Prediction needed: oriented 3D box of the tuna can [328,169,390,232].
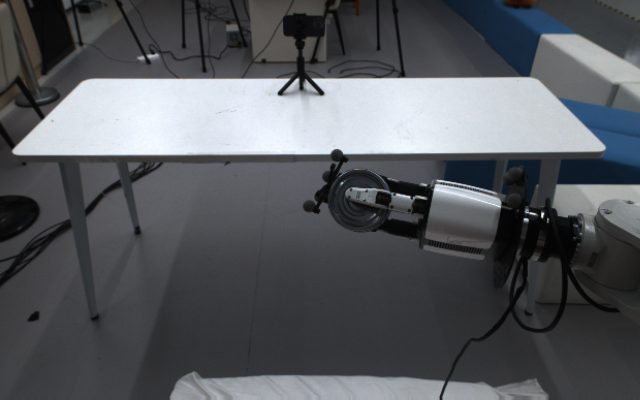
[{"bbox_3d":[0.056,-0.001,0.655,0.085,0.085,0.034,9,-5,10],"label":"tuna can"}]
